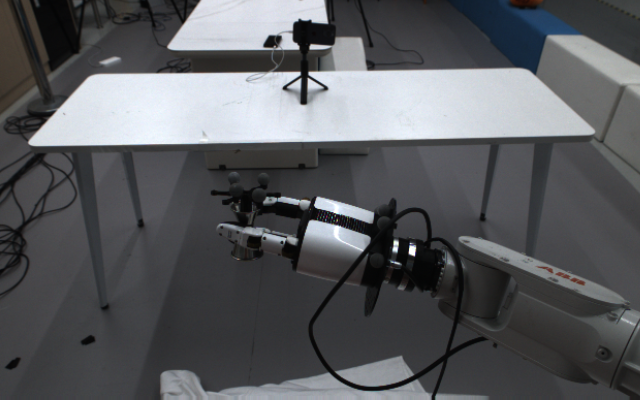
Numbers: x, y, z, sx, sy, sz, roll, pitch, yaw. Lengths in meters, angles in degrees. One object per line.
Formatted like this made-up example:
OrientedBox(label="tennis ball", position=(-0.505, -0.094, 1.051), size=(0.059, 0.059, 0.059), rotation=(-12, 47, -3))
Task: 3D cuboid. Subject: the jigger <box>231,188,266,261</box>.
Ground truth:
OrientedBox(label="jigger", position=(-0.096, 0.039, 0.641), size=(0.043, 0.071, 0.043), rotation=(1, 20, -1))
